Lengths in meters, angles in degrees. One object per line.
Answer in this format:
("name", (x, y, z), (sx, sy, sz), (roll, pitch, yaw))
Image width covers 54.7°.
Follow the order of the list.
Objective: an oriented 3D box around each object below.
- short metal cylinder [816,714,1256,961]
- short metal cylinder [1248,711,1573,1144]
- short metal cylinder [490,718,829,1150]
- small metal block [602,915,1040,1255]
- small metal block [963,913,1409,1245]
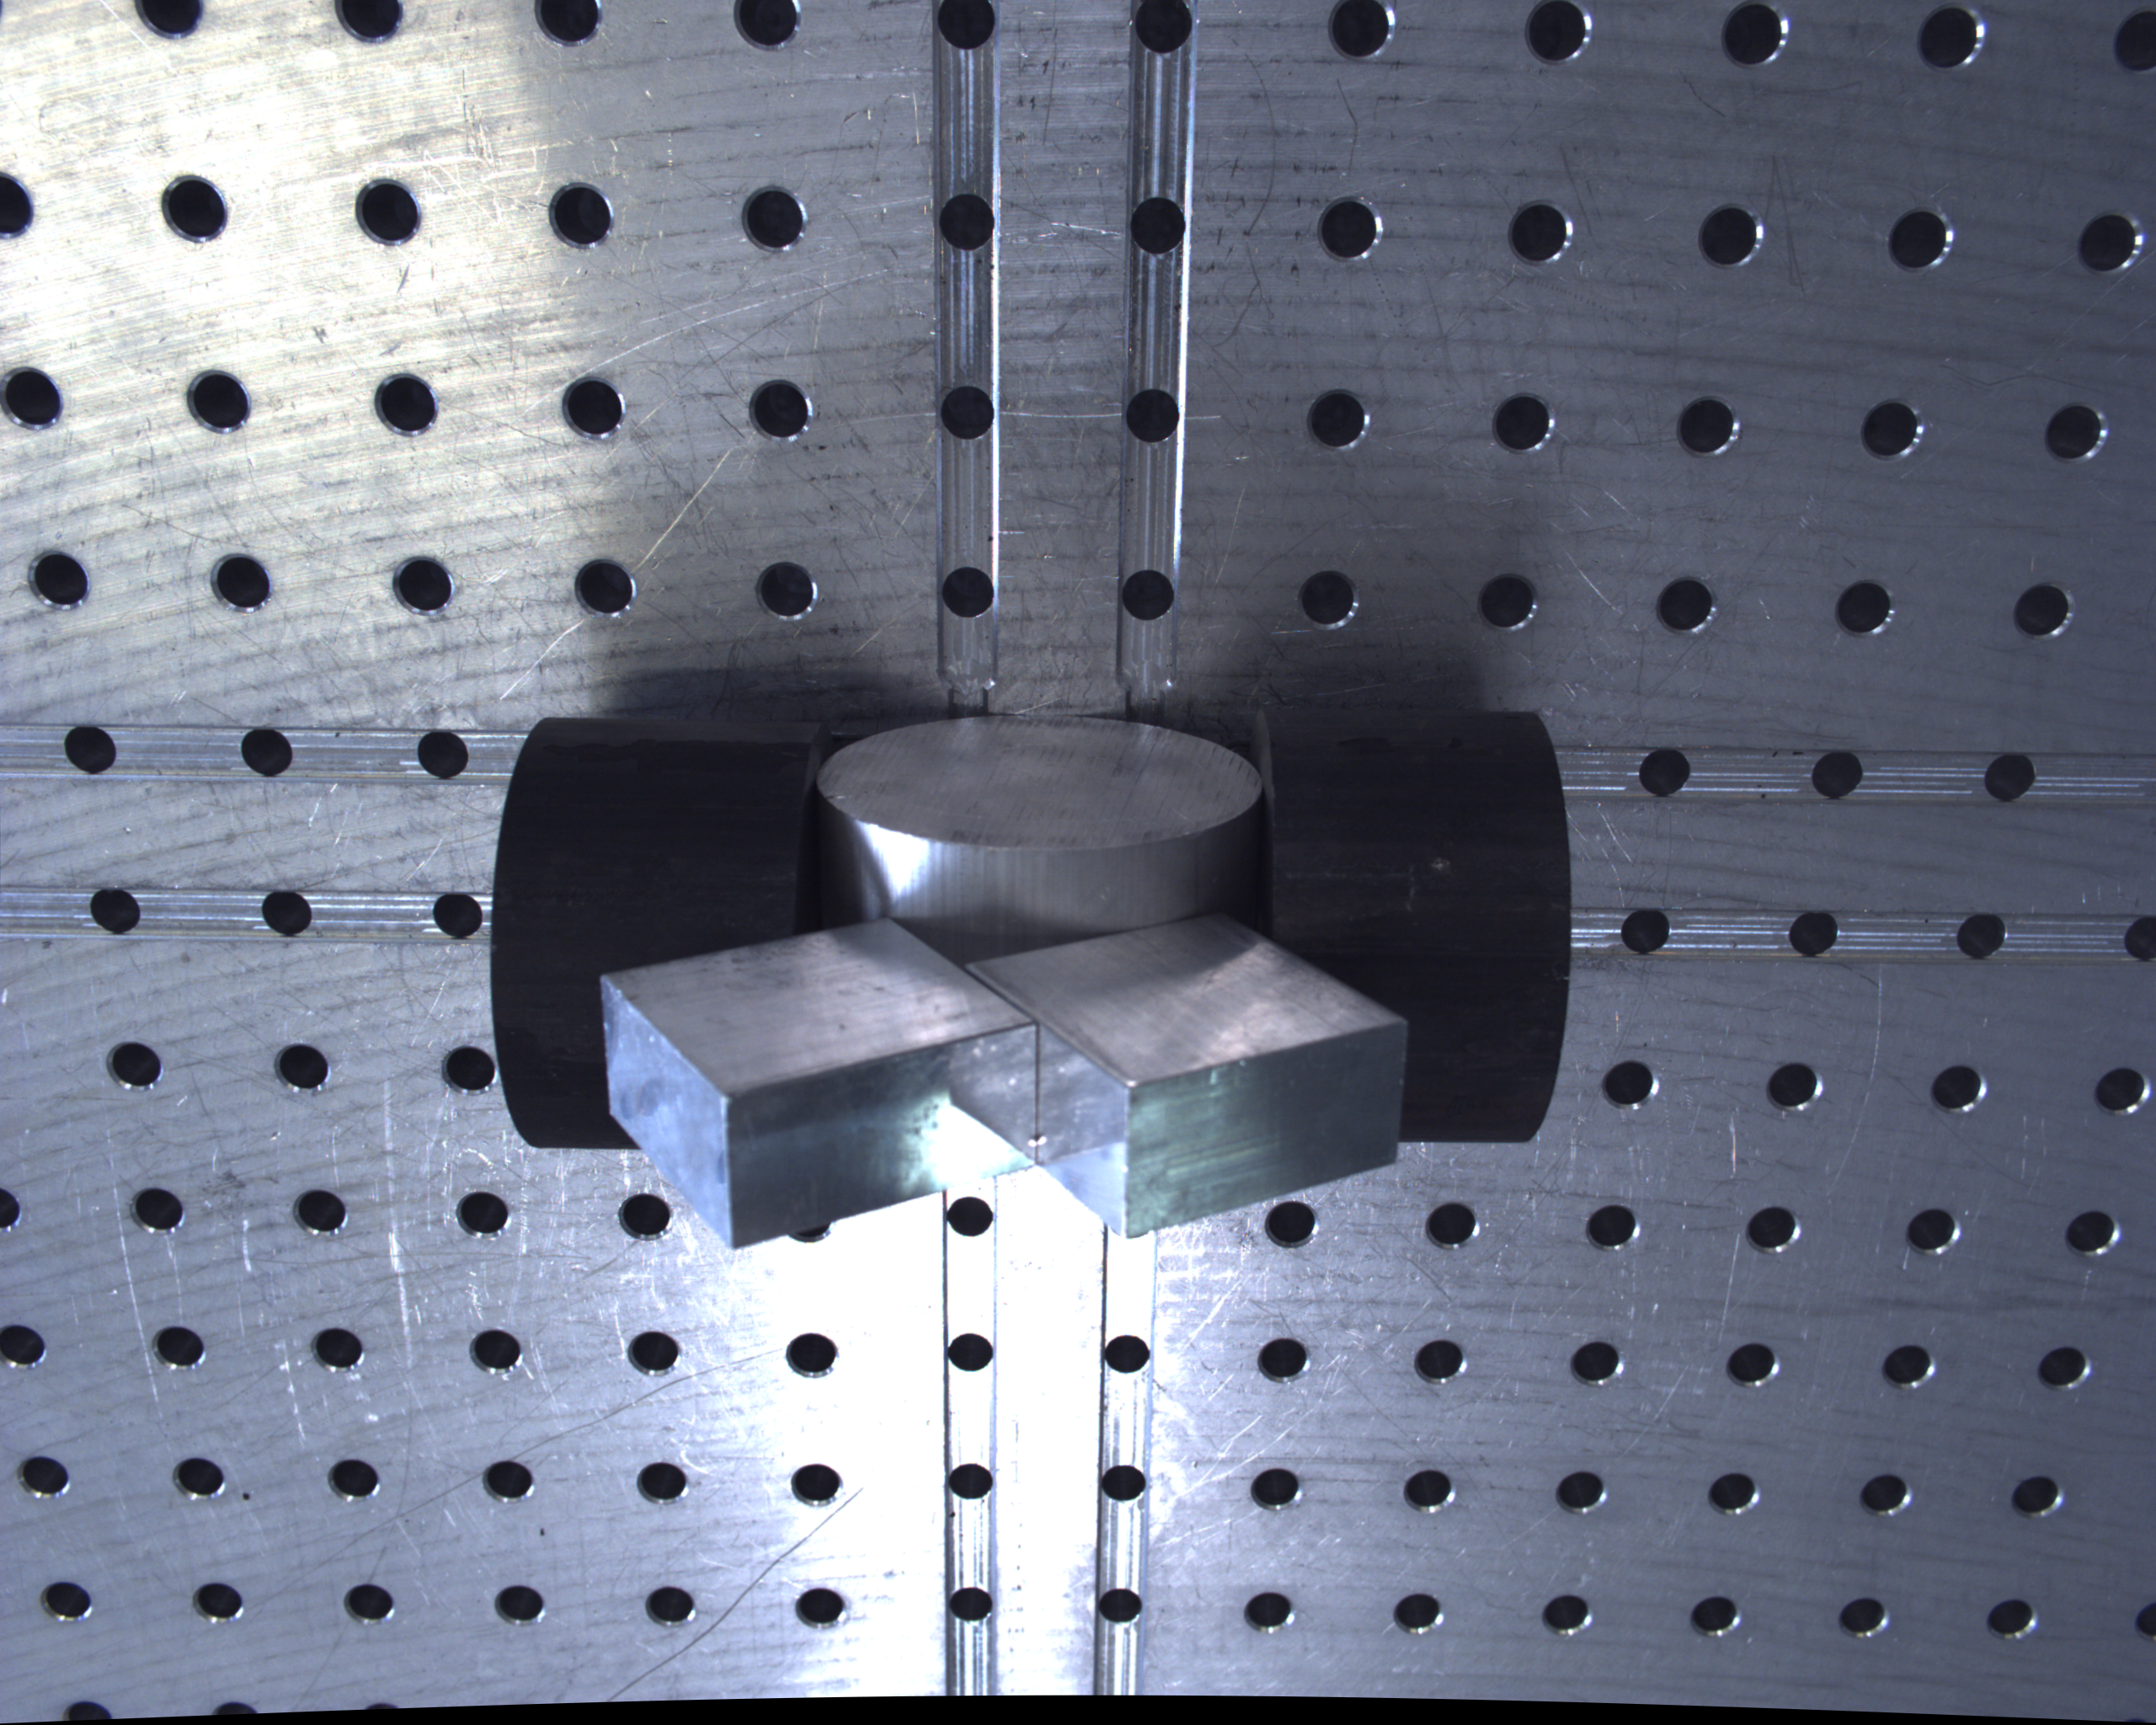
("short metal cylinder", (-0.007, 0.008, 0.386), (0.081, 0.080, 0.050), (1, 110, -1))
("short metal cylinder", (0.058, 0.012, 0.388), (0.050, 0.080, 0.079), (1, 110, 0))
("short metal cylinder", (-0.073, 0.013, 0.388), (0.050, 0.080, 0.079), (1, 110, 0))
("small metal block", (-0.040, 0.032, 0.325), (0.050, 0.050, 0.025), (-11, 114, -30))
("small metal block", (0.016, 0.032, 0.330), (0.050, 0.050, 0.025), (-11, 113, -29))
